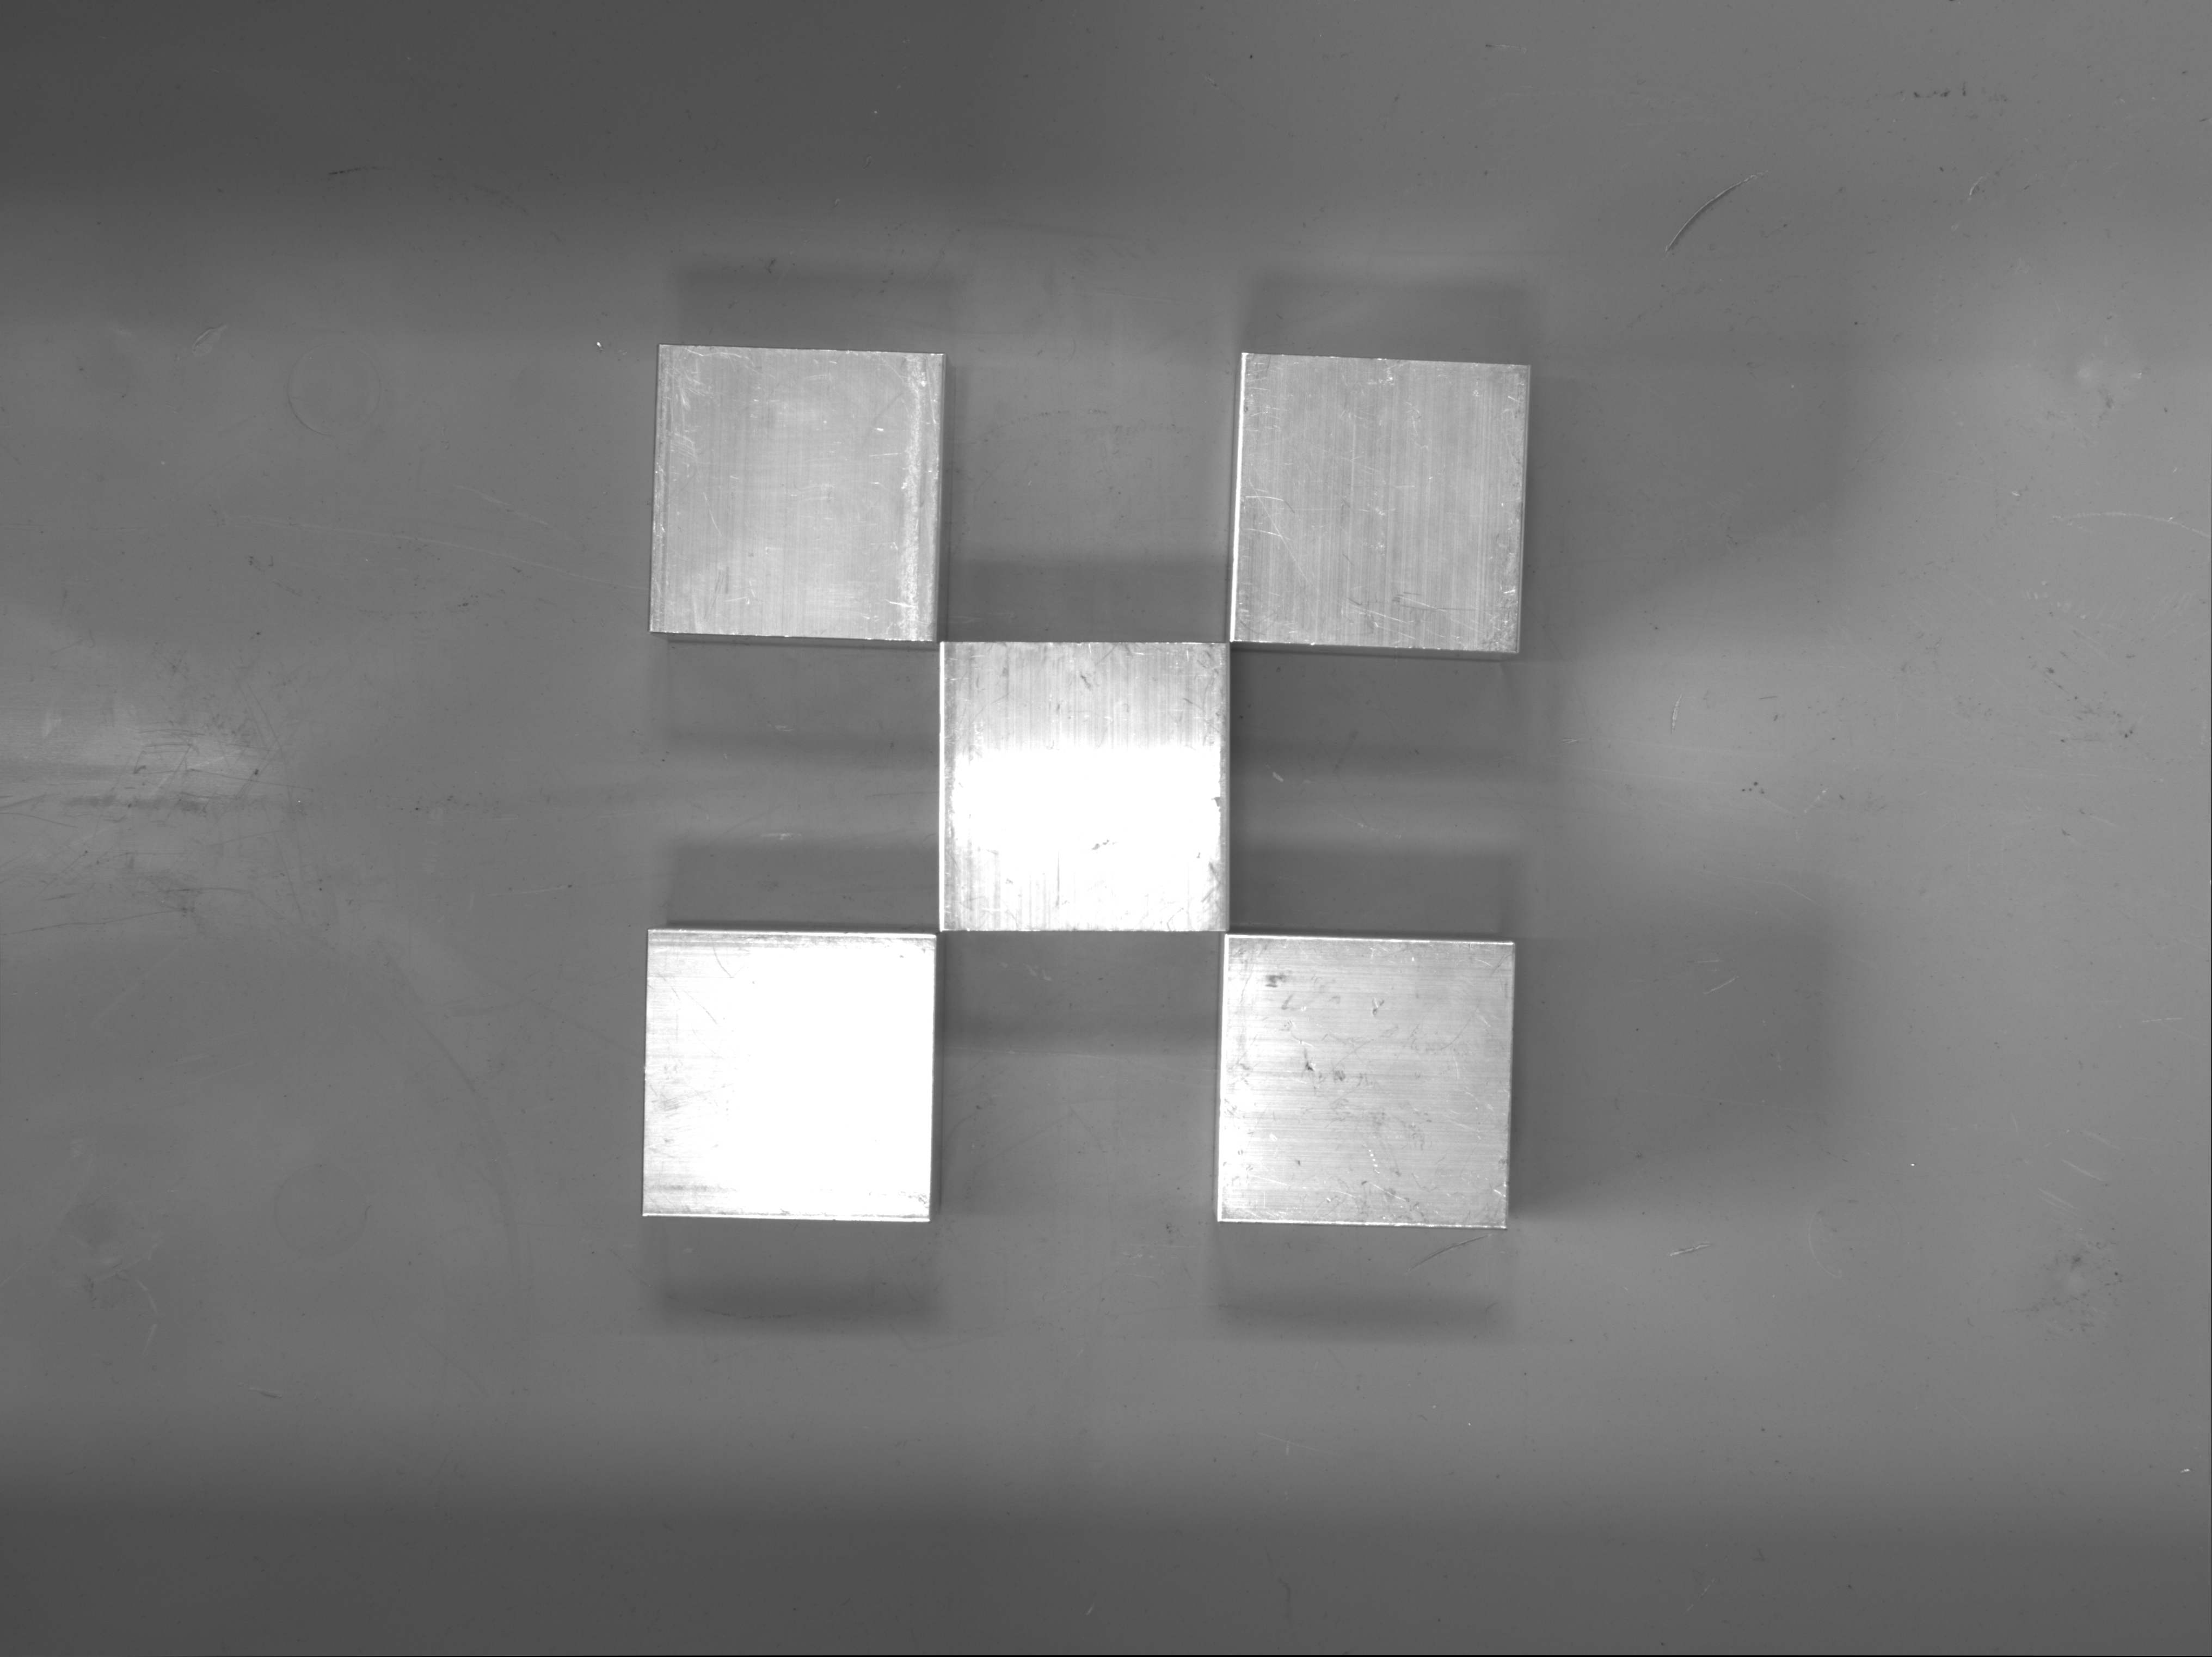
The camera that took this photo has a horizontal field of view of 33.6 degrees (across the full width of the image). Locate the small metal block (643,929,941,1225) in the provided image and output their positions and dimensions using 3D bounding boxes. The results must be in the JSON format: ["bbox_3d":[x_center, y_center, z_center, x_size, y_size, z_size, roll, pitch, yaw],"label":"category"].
[{"bbox_3d":[-0.054,0.043,0.643,0.050,0.025,0.050,1,90,0],"label":"small metal block"}]

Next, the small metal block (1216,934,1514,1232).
[{"bbox_3d":[0.045,0.044,0.643,0.050,0.025,0.050,1,90,0],"label":"small metal block"}]

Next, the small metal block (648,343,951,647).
[{"bbox_3d":[-0.053,-0.058,0.644,0.050,0.025,0.050,2,90,0],"label":"small metal block"}]

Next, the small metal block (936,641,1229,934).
[{"bbox_3d":[-0.004,-0.007,0.643,0.050,0.025,0.050,1,90,0],"label":"small metal block"}]

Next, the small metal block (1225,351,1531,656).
[{"bbox_3d":[0.047,-0.056,0.643,0.050,0.025,0.050,2,90,0],"label":"small metal block"}]
